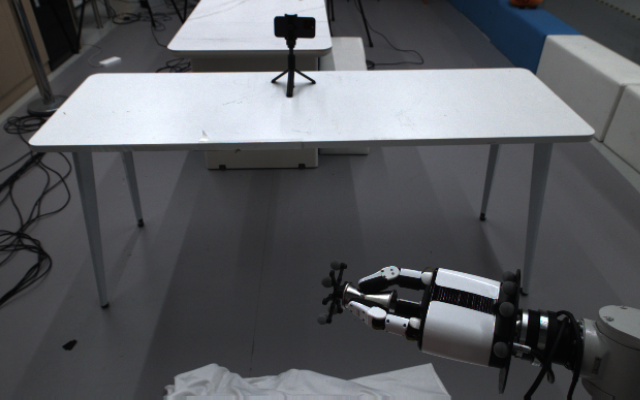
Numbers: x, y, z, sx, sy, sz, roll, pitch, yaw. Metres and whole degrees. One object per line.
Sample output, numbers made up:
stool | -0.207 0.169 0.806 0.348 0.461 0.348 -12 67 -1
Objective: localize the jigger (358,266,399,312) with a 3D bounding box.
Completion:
jigger | 0.076 0.137 0.680 0.071 0.043 0.043 8 34 23
